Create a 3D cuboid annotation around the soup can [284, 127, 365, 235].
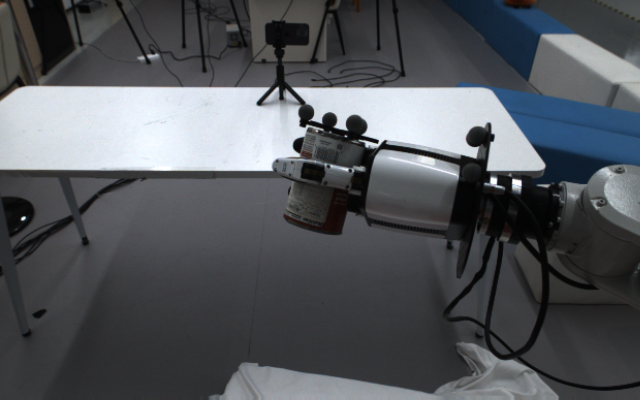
[{"bbox_3d":[0.006,-0.020,0.526,0.067,0.101,0.067,15,7,-2],"label":"soup can"}]
